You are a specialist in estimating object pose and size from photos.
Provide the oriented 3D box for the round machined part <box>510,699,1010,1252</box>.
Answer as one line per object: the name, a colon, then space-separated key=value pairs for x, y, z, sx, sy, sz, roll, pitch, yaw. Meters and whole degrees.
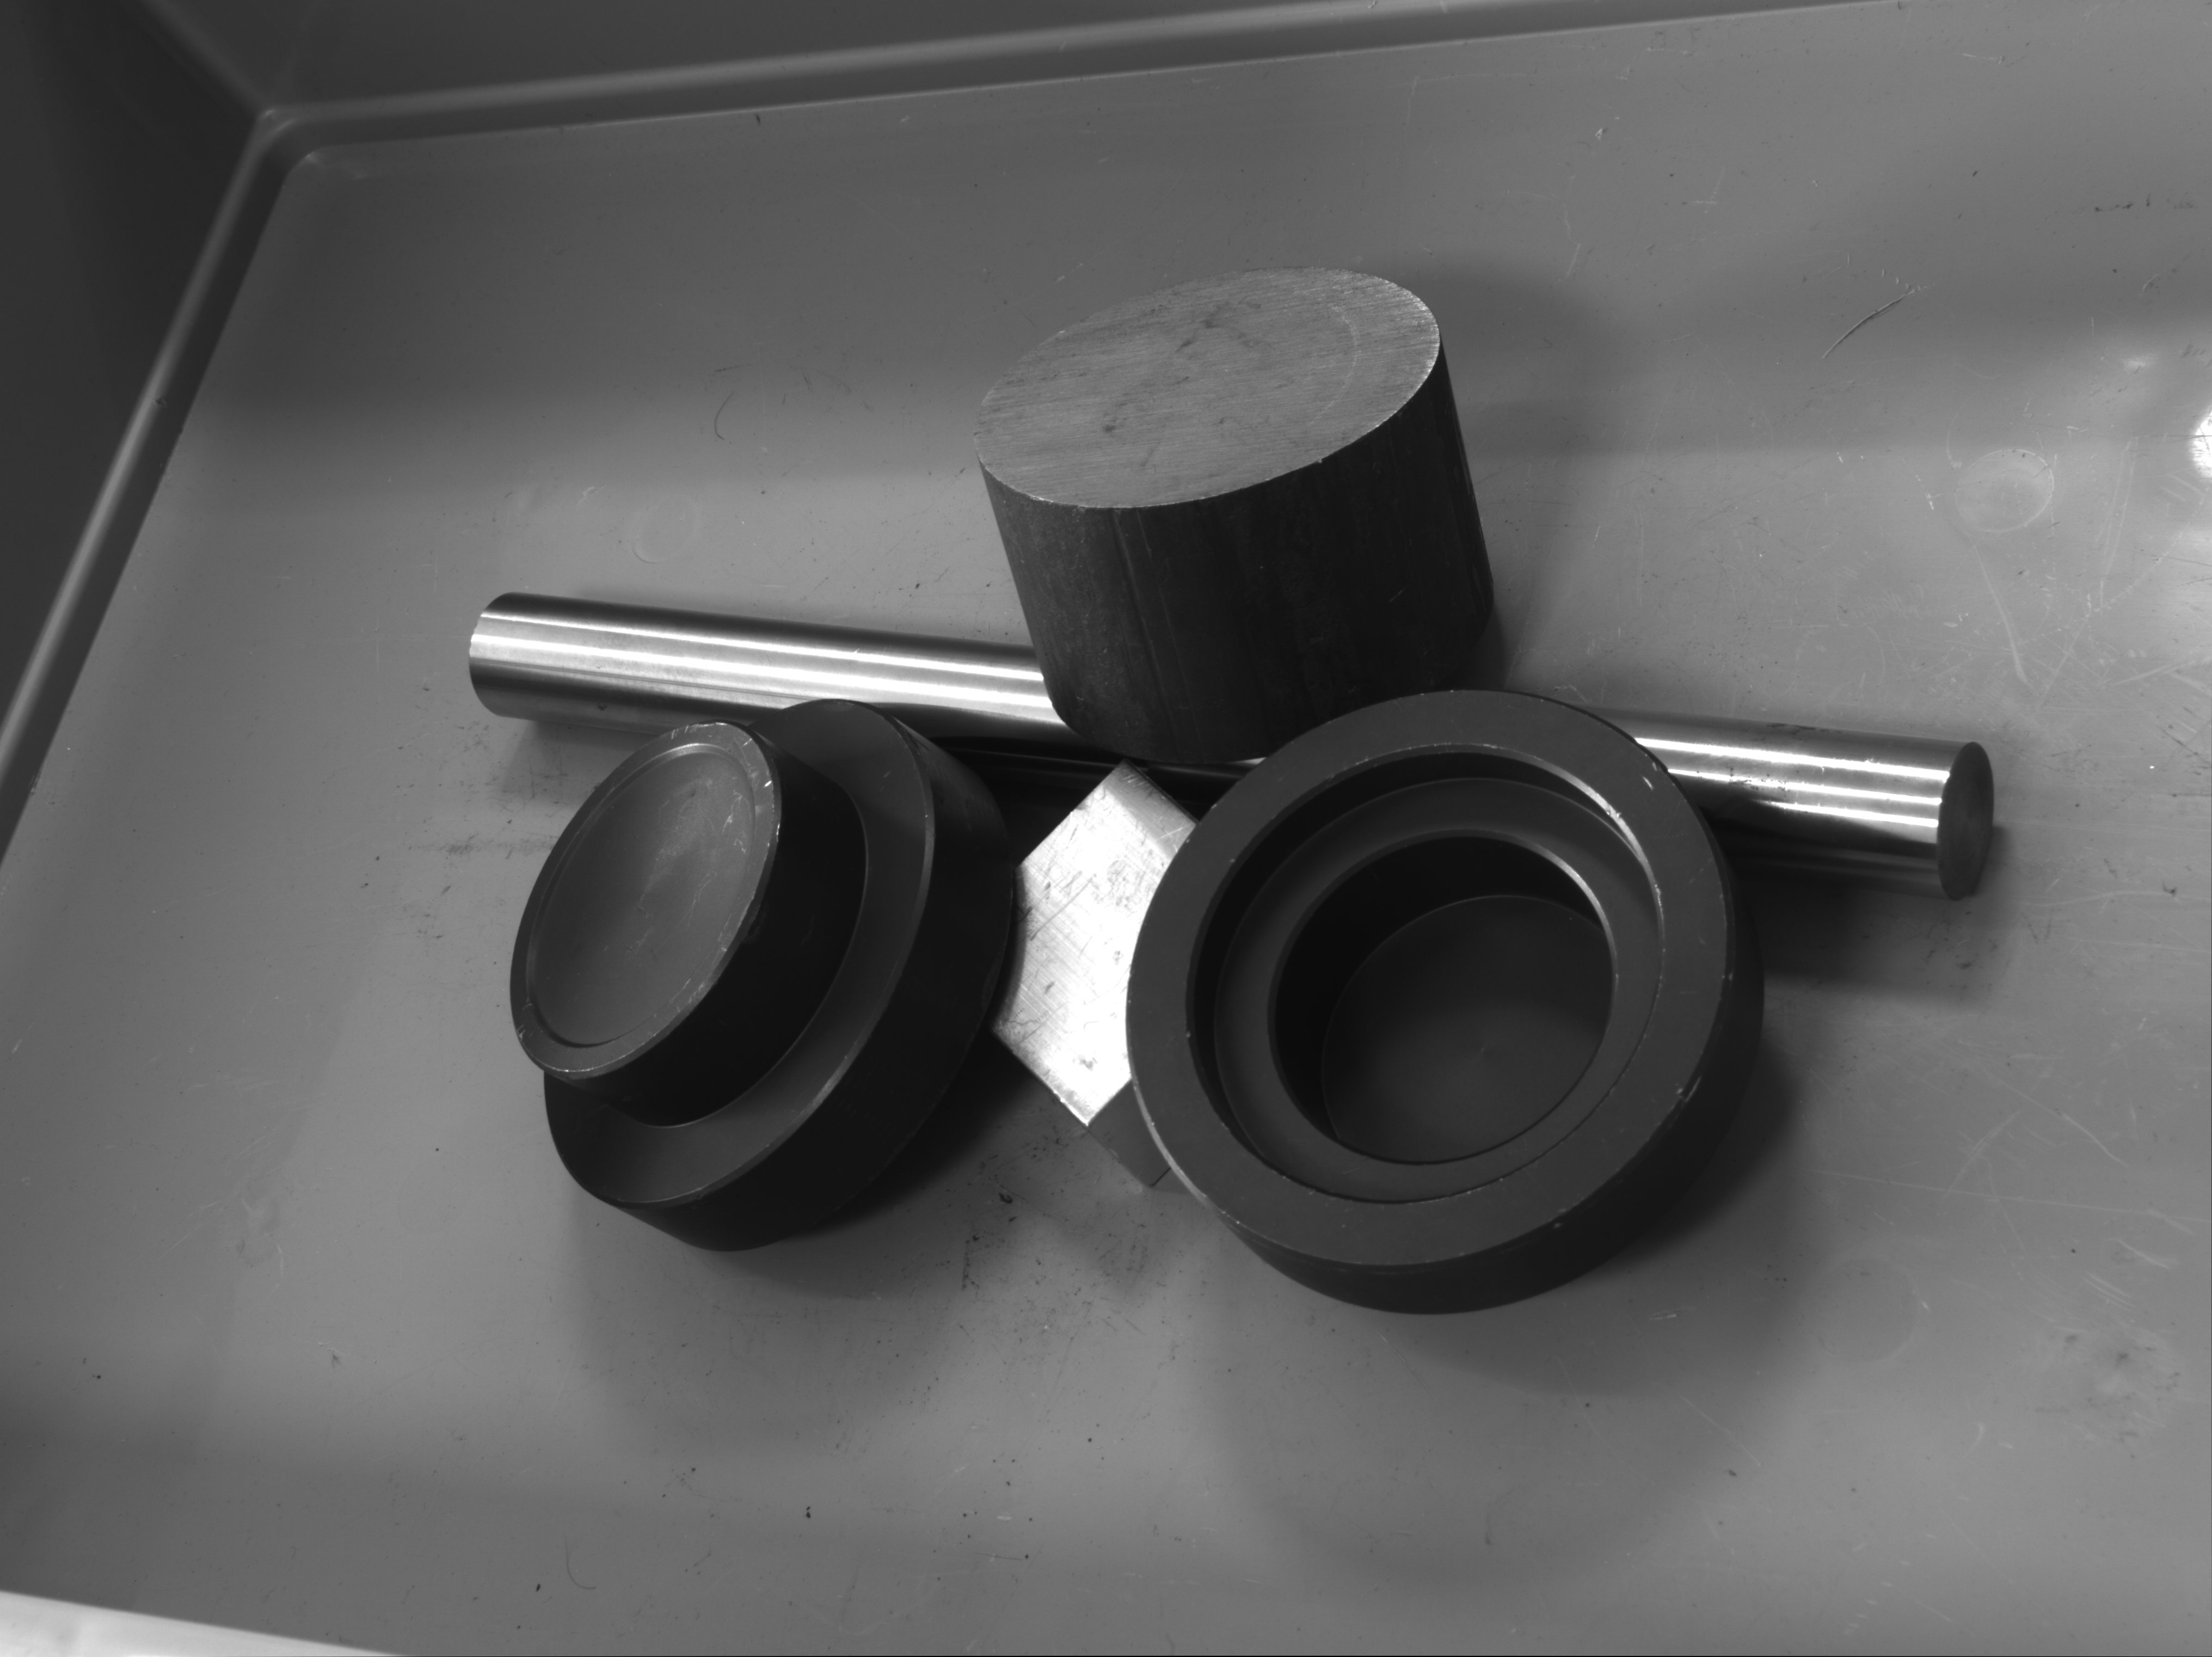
round machined part: x=-0.066 y=0.021 z=0.639 sx=0.098 sy=0.042 sz=0.098 roll=-29 pitch=45 yaw=33

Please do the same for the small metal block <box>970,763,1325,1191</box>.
small metal block: x=0.006 y=0.024 z=0.626 sx=0.050 sy=0.025 sz=0.050 roll=-45 pitch=51 yaw=-3

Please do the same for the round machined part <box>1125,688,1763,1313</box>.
round machined part: x=0.056 y=0.030 z=0.581 sx=0.098 sy=0.042 sz=0.098 roll=-11 pitch=60 yaw=20

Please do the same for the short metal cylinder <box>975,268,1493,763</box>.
short metal cylinder: x=0.023 y=-0.055 z=0.630 sx=0.080 sy=0.050 sz=0.080 roll=-11 pitch=33 yaw=8

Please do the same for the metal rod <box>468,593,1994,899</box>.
metal rod: x=0.008 y=-0.018 z=0.651 sx=0.299 sy=0.025 sz=0.025 roll=7 pitch=65 yaw=32
